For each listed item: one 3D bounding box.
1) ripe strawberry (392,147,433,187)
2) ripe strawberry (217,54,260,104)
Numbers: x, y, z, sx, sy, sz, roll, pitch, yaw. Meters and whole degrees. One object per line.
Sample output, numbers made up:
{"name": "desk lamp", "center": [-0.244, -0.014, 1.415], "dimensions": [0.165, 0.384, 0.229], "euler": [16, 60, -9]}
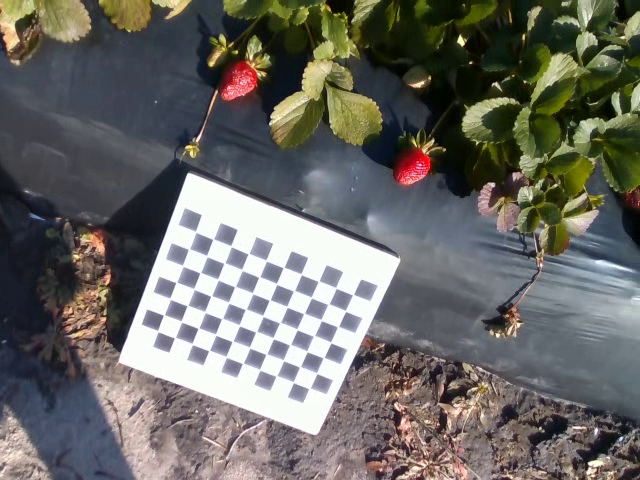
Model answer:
{"name": "ripe strawberry", "center": [0.096, -0.075, 0.663], "dimensions": [0.043, 0.043, 0.050], "euler": [-16, 23, 48]}
{"name": "ripe strawberry", "center": [-0.089, -0.166, 0.650], "dimensions": [0.041, 0.053, 0.043], "euler": [33, -31, -11]}
